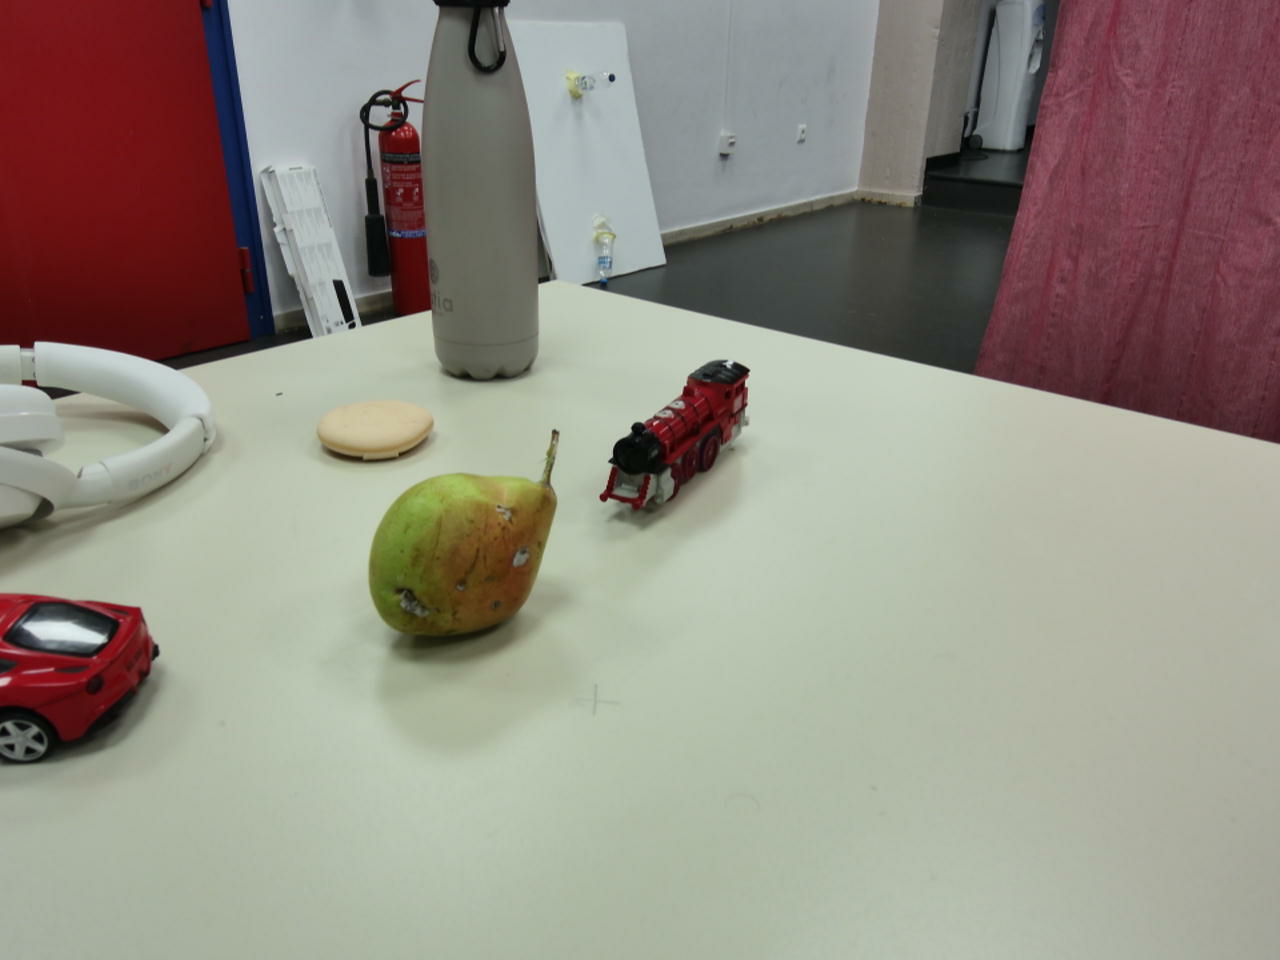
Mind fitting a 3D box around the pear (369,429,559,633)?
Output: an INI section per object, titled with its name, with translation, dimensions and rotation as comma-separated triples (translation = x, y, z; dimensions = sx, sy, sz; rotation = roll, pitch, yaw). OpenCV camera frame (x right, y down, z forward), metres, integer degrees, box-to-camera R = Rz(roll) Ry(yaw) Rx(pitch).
[pear]
translation = -0.068, 0.024, 0.387
dimensions = 0.070, 0.069, 0.068
rotation = 0, 23, 0
